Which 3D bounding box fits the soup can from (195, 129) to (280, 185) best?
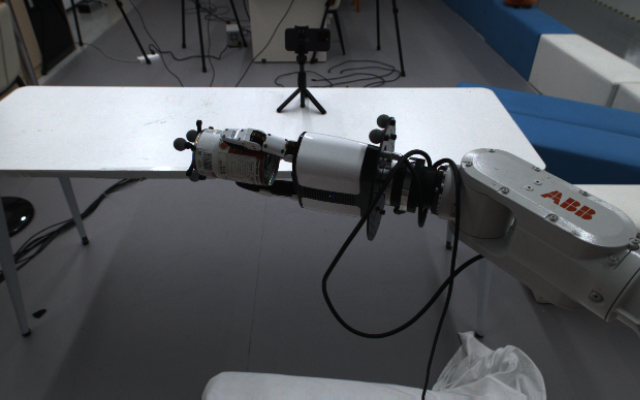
[{"bbox_3d":[-0.112,-0.058,0.663,0.101,0.067,0.067,10,35,10],"label":"soup can"}]
